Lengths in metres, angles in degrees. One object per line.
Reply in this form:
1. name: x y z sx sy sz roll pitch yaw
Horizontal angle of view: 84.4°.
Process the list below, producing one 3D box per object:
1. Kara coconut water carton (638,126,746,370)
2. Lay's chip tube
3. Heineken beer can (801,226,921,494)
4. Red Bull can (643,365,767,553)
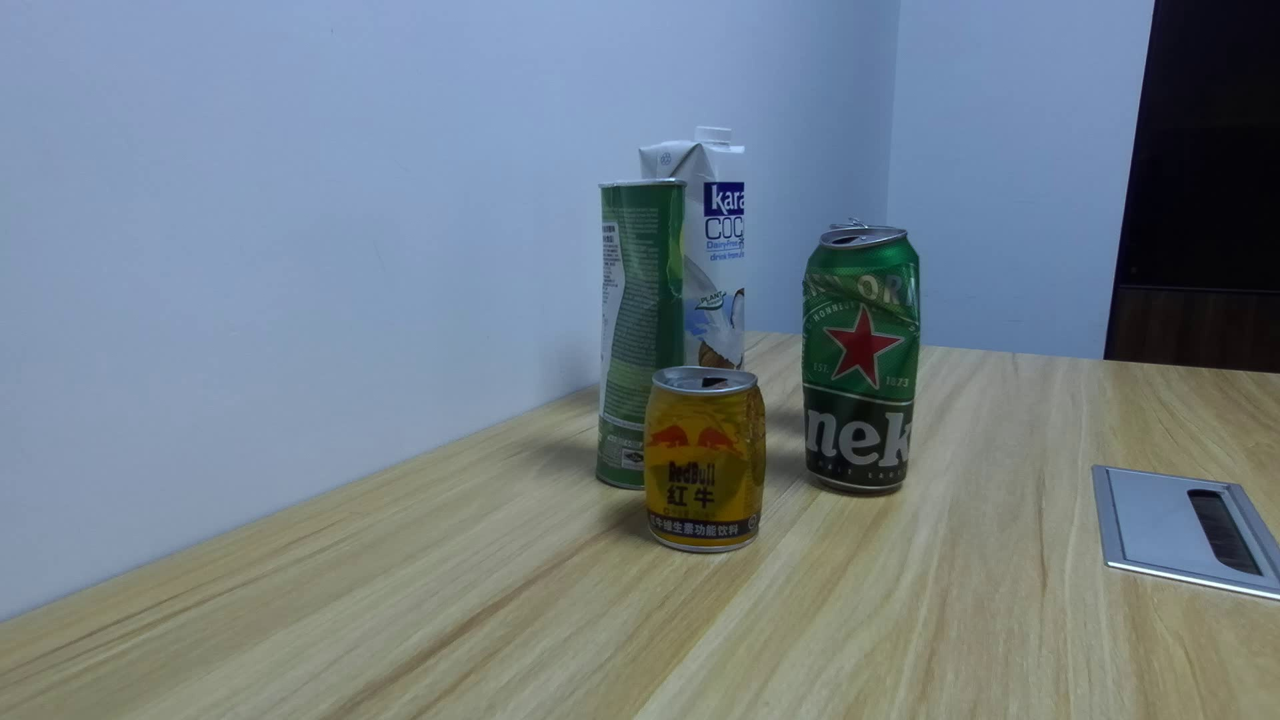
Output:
1. Kara coconut water carton: 0.048 -0.069 0.600 0.075 0.245 0.077 8 15 40
2. Lay's chip tube: 0.000 -0.018 0.481 0.074 0.199 0.069 5 15 21
3. Heineken beer can: 0.144 0.002 0.462 0.069 0.168 0.068 -2 14 4
4. Red Bull can: 0.037 0.053 0.402 0.072 0.092 0.072 -1 13 0
